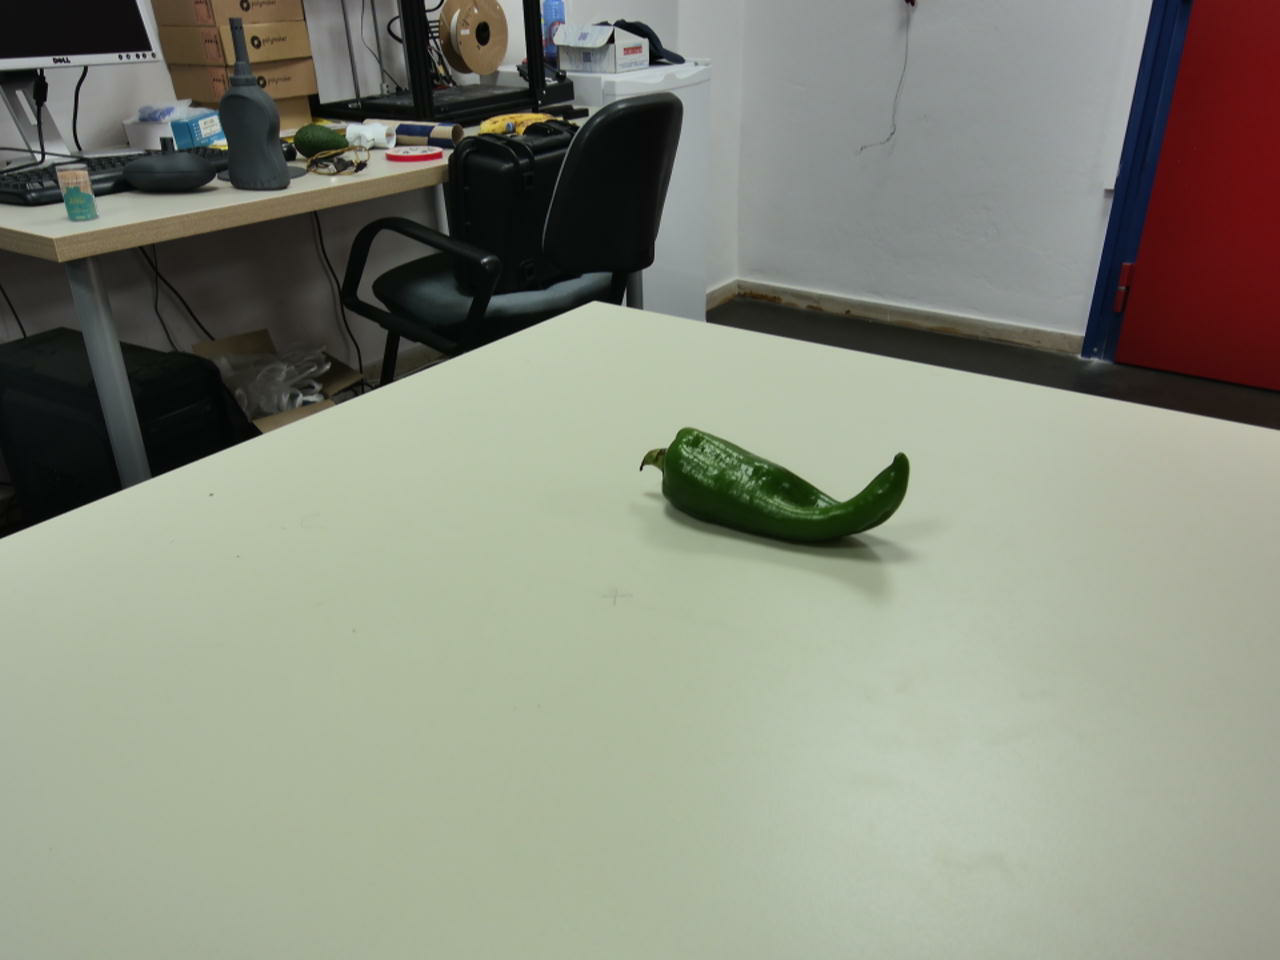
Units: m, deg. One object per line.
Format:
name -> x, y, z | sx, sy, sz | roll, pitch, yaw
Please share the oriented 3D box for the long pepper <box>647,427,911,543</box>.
long pepper -> 0.077, -0.001, 0.618 | 0.175, 0.065, 0.058 | 15, 29, 31
